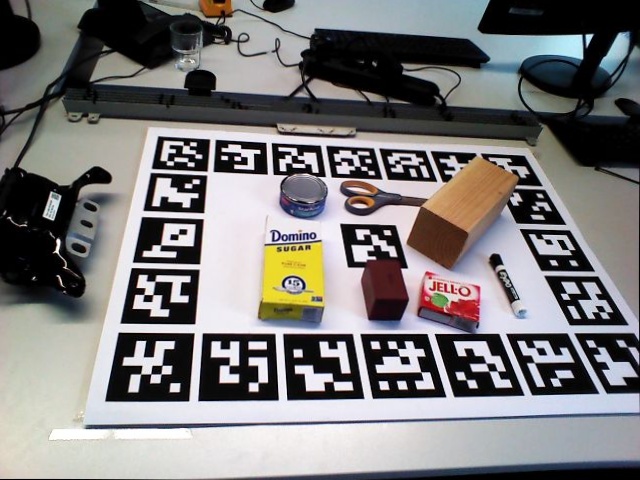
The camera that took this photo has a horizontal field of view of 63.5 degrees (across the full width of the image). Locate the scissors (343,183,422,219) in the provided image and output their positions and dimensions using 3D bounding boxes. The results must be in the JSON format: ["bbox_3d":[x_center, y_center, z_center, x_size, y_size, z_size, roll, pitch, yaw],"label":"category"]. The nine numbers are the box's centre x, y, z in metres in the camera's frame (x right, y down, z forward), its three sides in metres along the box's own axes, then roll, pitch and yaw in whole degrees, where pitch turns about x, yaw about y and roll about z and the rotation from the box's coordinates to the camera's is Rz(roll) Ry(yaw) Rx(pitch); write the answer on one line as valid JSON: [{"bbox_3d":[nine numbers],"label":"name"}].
[{"bbox_3d":[0.142,-0.066,0.957,0.203,0.016,0.087,6,47,0],"label":"scissors"}]

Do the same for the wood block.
[{"bbox_3d":[0.266,-0.039,0.904,0.090,0.091,0.205,35,51,23],"label":"wood block"}]

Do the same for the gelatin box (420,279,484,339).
[{"bbox_3d":[0.204,0.104,0.797,0.089,0.030,0.073,15,48,6],"label":"gelatin box"}]

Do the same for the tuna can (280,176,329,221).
[{"bbox_3d":[-0.028,-0.074,0.921,0.086,0.034,0.085,4,47,-5],"label":"tuna can"}]

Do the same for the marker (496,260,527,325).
[{"bbox_3d":[0.309,0.081,0.840,0.019,0.020,0.120,3,49,-7],"label":"marker"}]

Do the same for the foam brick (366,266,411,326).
[{"bbox_3d":[0.102,0.084,0.780,0.053,0.051,0.077,3,48,-6],"label":"foam brick"}]

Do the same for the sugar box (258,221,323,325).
[{"bbox_3d":[-0.042,0.047,0.803,0.093,0.045,0.175,6,47,-5],"label":"sugar box"}]
